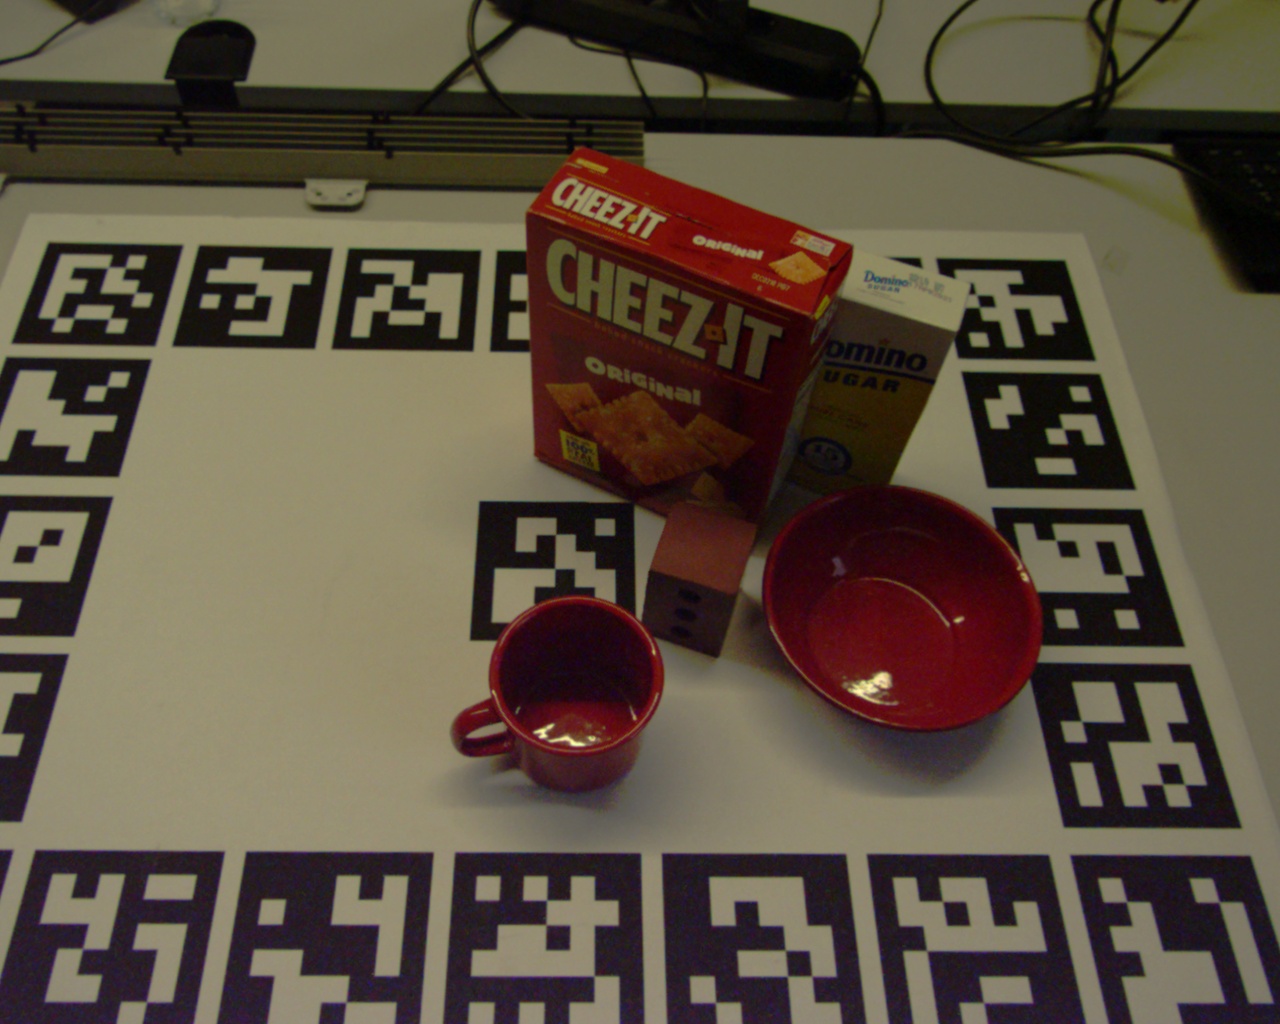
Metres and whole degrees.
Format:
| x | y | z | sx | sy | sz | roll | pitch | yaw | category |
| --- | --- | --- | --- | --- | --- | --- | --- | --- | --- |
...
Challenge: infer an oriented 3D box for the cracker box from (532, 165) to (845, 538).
| x | y | z | sx | sy | sz | roll | pitch | yaw | category |
| --- | --- | --- | --- | --- | --- | --- | --- | --- | --- |
| 0.017 | -0.083 | 0.704 | 0.165 | 0.213 | 0.071 | 27 | 57 | 13 | cracker box |

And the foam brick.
| x | y | z | sx | sy | sz | roll | pitch | yaw | category |
| --- | --- | --- | --- | --- | --- | --- | --- | --- | --- |
| 0.030 | 0.041 | 0.709 | 0.053 | 0.078 | 0.051 | 14 | 56 | 7 | foam brick |

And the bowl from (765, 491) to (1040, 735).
| x | y | z | sx | sy | sz | roll | pitch | yaw | category |
| --- | --- | --- | --- | --- | --- | --- | --- | --- | --- |
| 0.153 | 0.068 | 0.691 | 0.161 | 0.055 | 0.162 | 1 | 58 | -2 | bowl |

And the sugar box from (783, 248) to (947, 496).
| x | y | z | sx | sy | sz | roll | pitch | yaw | category |
| --- | --- | --- | --- | --- | --- | --- | --- | --- | --- |
| 0.126 | -0.082 | 0.729 | 0.093 | 0.176 | 0.045 | 19 | 58 | 10 | sugar box |

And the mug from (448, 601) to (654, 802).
| x | y | z | sx | sy | sz | roll | pitch | yaw | category |
| --- | --- | --- | --- | --- | --- | --- | --- | --- | --- |
| -0.050 | 0.113 | 0.647 | 0.117 | 0.081 | 0.094 | -7 | 49 | -5 | mug |
